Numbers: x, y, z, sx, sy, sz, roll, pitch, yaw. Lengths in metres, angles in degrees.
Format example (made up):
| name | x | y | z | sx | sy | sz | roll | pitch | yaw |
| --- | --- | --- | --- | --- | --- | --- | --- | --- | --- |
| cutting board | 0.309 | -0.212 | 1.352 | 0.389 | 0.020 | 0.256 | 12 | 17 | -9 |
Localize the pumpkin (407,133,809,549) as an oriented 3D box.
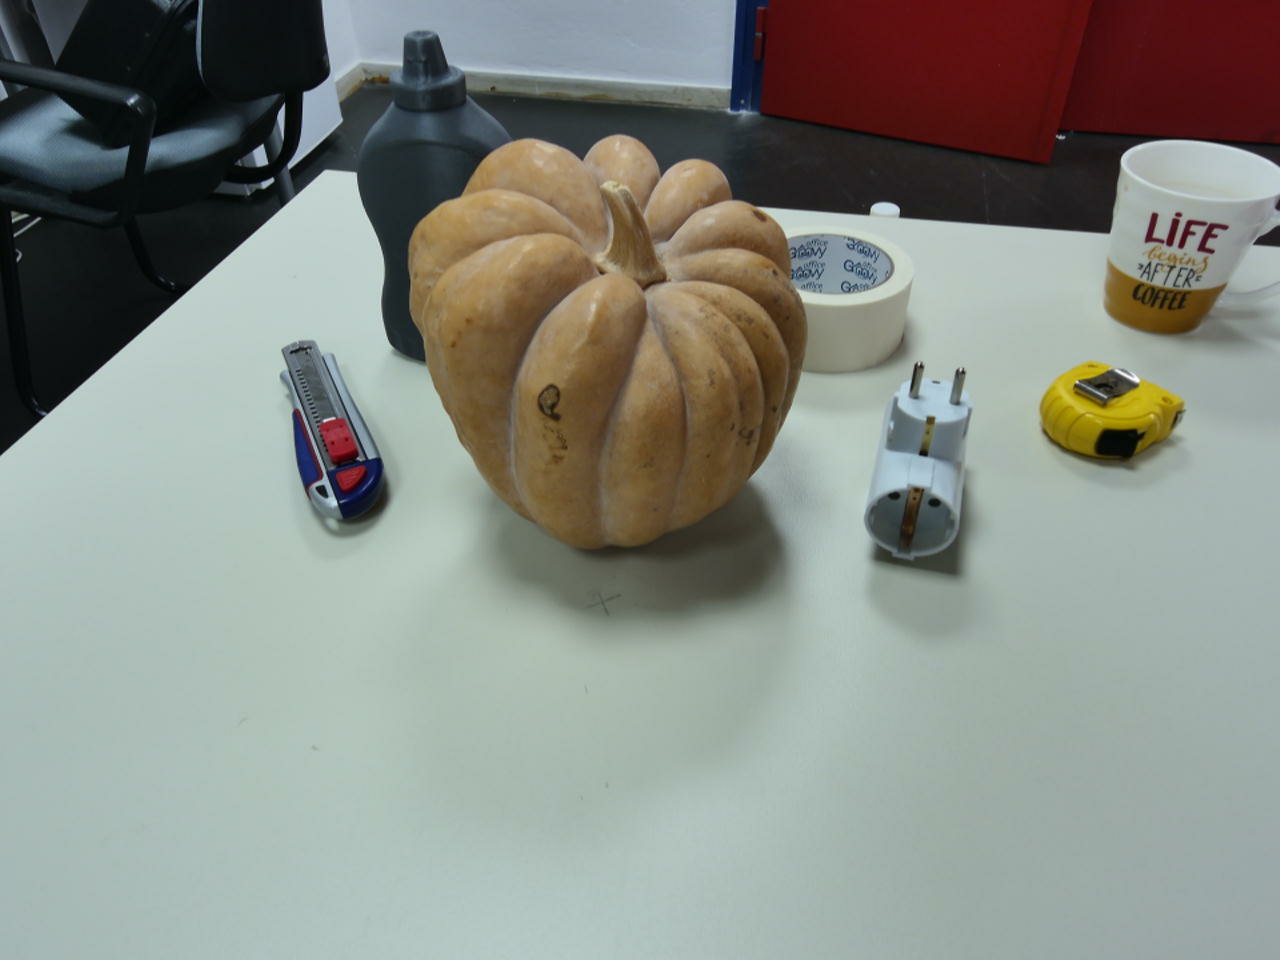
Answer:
| name | x | y | z | sx | sy | sz | roll | pitch | yaw |
| --- | --- | --- | --- | --- | --- | --- | --- | --- | --- |
| pumpkin | -0.015 | -0.066 | 0.487 | 0.199 | 0.177 | 0.198 | 0 | 39 | 0 |
